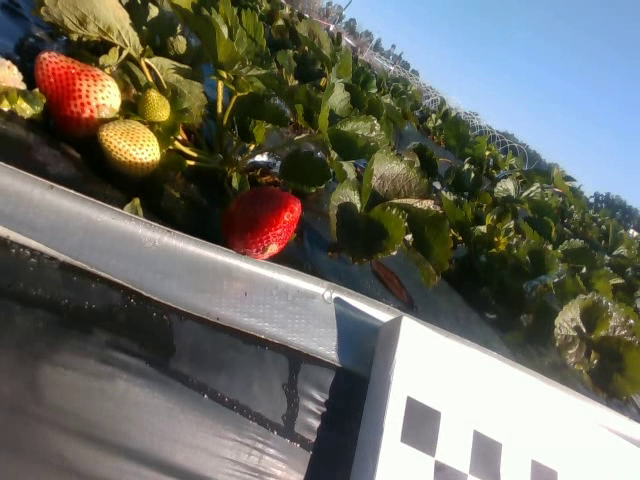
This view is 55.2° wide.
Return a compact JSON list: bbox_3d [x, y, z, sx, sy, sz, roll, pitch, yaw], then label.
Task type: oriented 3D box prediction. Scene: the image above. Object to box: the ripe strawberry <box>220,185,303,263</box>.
[{"bbox_3d":[-0.023,-0.008,0.248,0.036,0.038,0.045,26,-19,-20],"label":"ripe strawberry"}]
